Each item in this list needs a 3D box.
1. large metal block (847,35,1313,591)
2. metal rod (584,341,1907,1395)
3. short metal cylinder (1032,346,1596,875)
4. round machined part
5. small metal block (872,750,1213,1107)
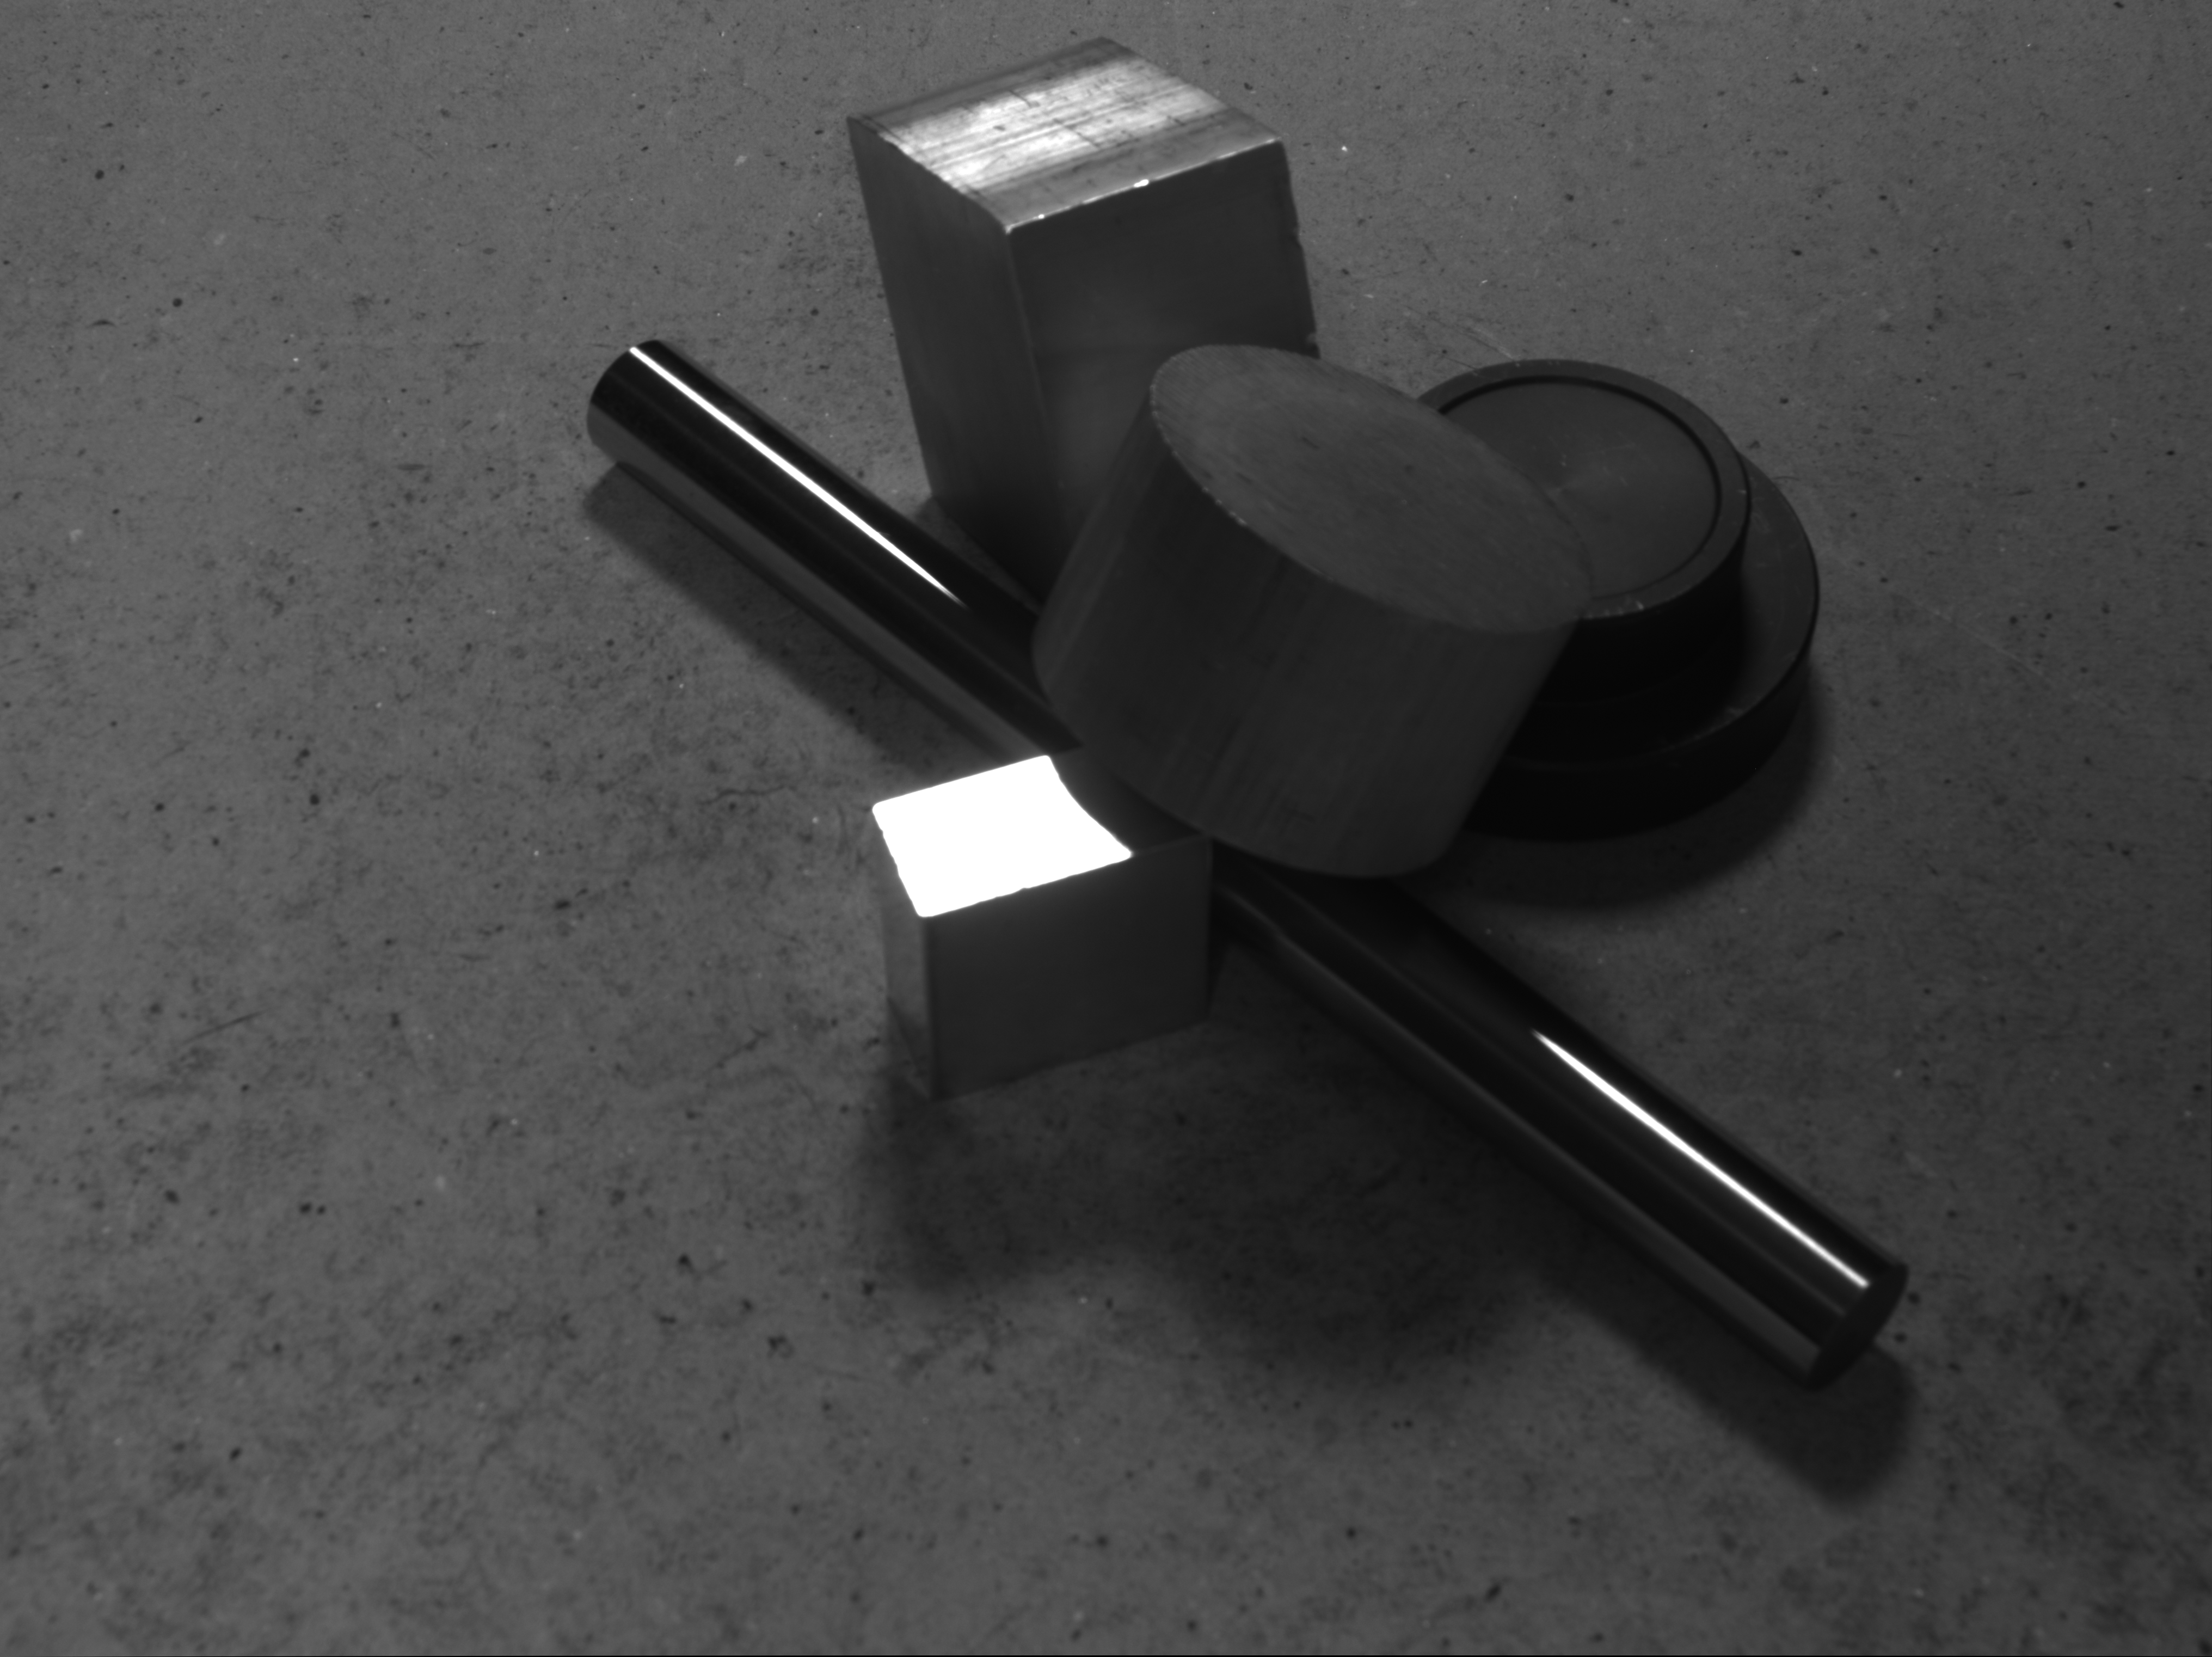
[{"bbox_3d":[-0.002,-0.091,0.669,0.050,0.080,0.080,-22,31,-15],"label":"large metal block"},{"bbox_3d":[0.013,-0.002,0.645,0.025,0.025,0.299,-37,59,-27],"label":"metal rod"},{"bbox_3d":[0.034,-0.037,0.609,0.080,0.050,0.080,19,31,-12],"label":"short metal cylinder"},{"bbox_3d":[0.082,-0.048,0.671,0.098,0.042,0.098,0,50,0],"label":"round machined part"},{"bbox_3d":[-0.010,0.015,0.614,0.050,0.050,0.025,-16,51,-14],"label":"small metal block"}]
